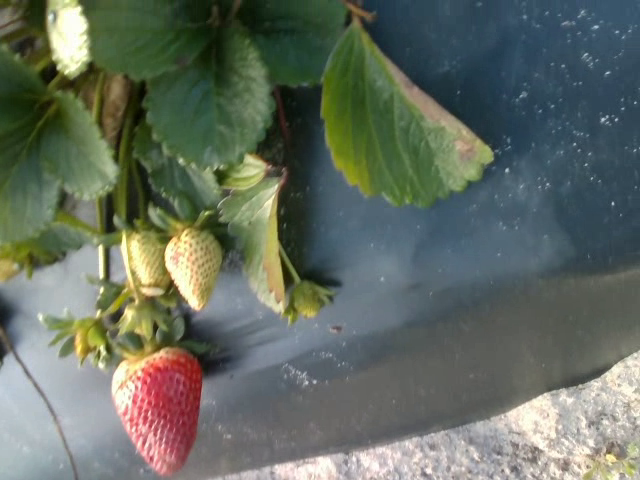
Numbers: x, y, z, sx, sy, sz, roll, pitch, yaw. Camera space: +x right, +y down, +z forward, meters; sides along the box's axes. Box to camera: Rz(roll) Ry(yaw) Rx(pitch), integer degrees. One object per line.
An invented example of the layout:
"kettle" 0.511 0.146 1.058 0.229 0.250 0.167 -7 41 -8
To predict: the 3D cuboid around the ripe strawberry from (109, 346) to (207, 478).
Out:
"ripe strawberry" -0.088 0.094 0.330 0.052 0.068 0.044 -21 -8 20
